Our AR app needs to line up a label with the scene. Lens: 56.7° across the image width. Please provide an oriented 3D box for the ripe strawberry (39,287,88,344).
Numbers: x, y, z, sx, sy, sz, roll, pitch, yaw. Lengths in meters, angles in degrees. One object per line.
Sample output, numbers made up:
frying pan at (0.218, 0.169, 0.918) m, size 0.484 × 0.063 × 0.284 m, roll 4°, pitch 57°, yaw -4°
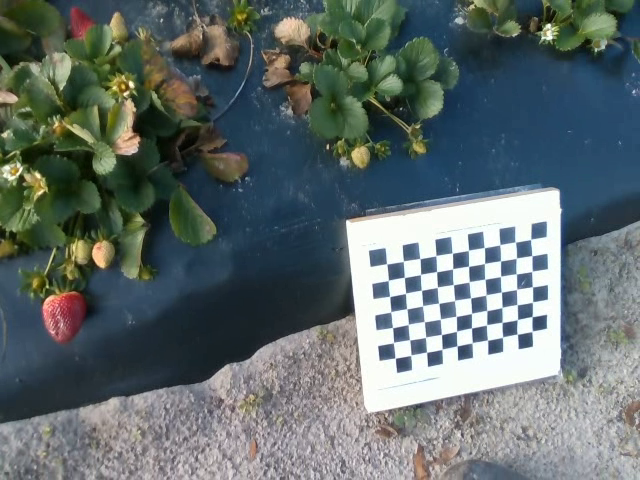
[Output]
ripe strawberry at (-0.330, 0.100, 0.755) m, size 0.052 × 0.068 × 0.045 m, roll -13°, pitch -26°, yaw -8°
